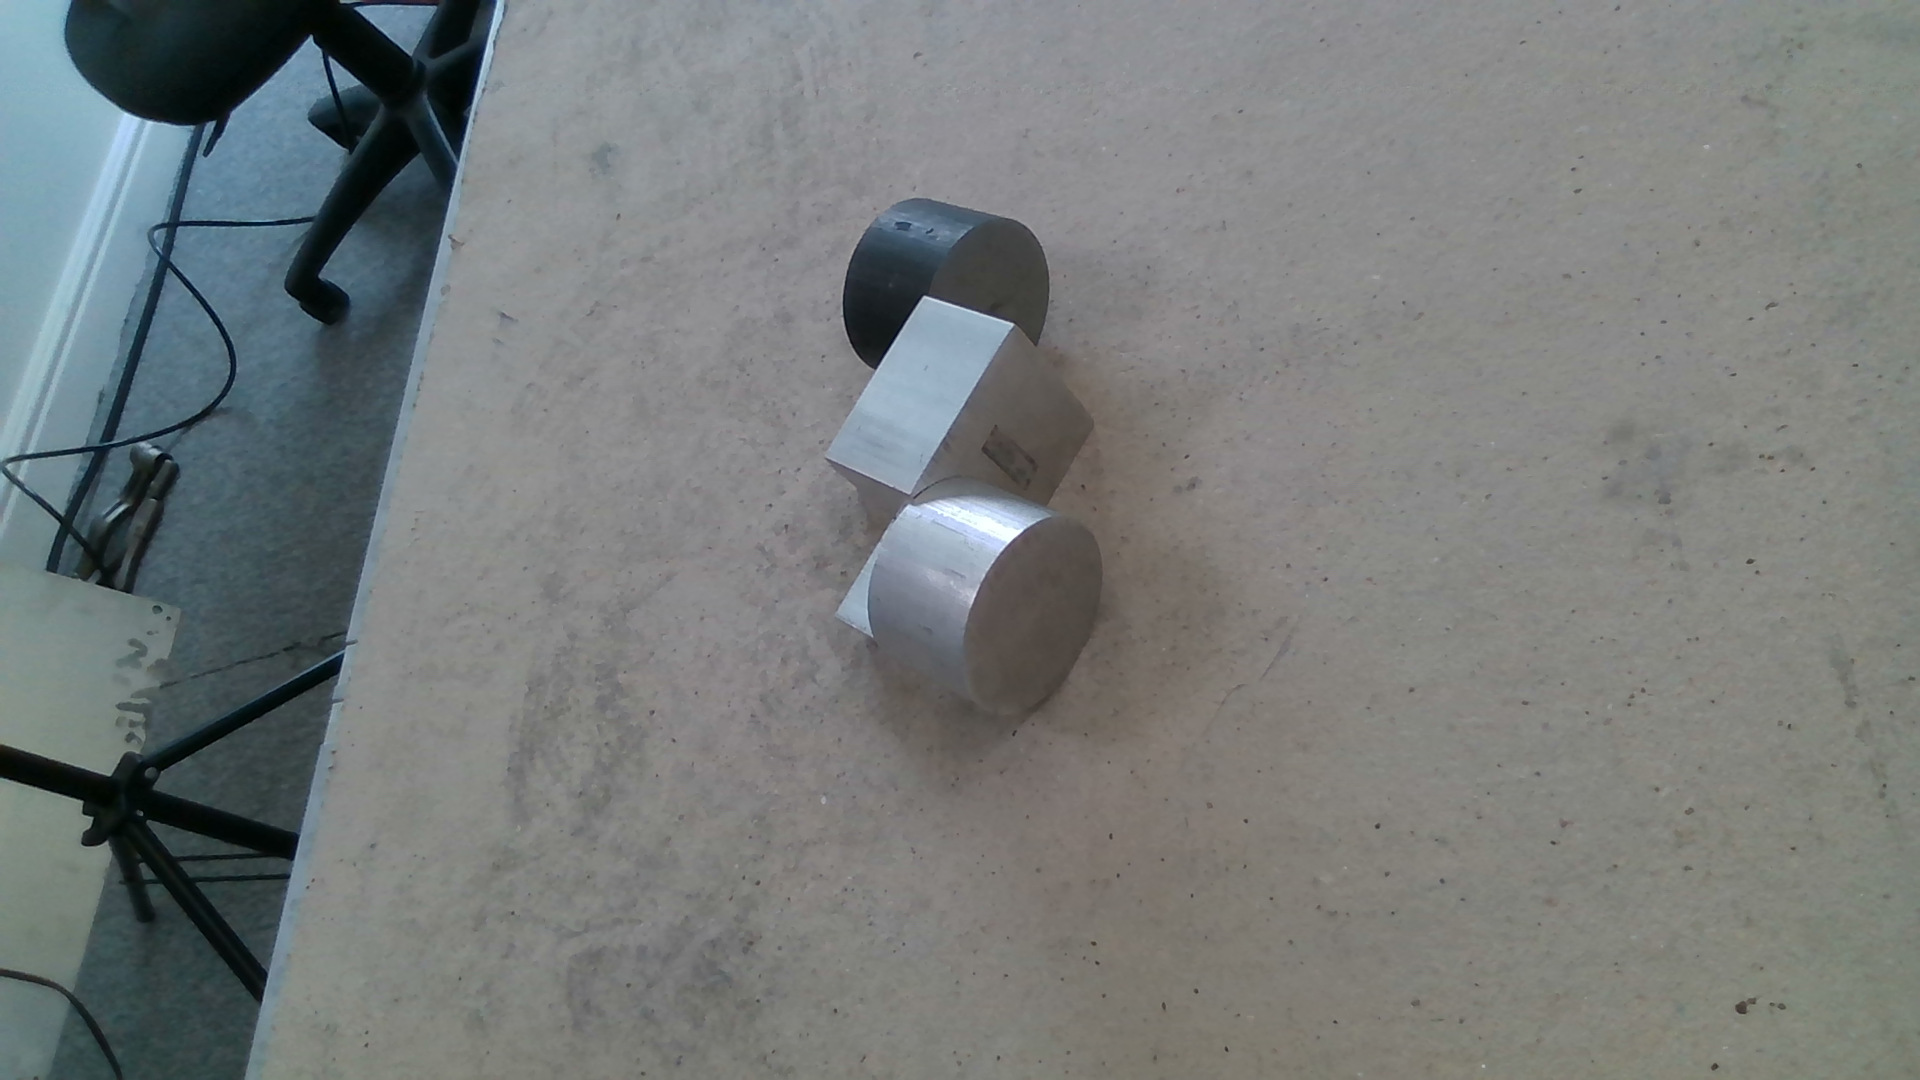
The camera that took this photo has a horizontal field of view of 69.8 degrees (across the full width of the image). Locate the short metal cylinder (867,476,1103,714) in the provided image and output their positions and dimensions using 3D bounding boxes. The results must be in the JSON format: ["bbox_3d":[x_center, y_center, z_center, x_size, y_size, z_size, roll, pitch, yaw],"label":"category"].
[{"bbox_3d":[0.010,0.020,0.534,0.050,0.080,0.080,25,80,38],"label":"short metal cylinder"}]

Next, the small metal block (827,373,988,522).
[{"bbox_3d":[-0.024,-0.042,0.624,0.050,0.025,0.050,24,80,38],"label":"small metal block"}]

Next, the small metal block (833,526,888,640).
[{"bbox_3d":[-0.018,0.025,0.585,0.050,0.025,0.050,24,80,38],"label":"small metal block"}]

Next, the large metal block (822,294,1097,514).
[{"bbox_3d":[0.002,-0.042,0.573,0.050,0.080,0.080,24,80,38],"label":"large metal block"}]

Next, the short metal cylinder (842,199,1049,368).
[{"bbox_3d":[-0.006,-0.107,0.611,0.050,0.080,0.080,24,80,38],"label":"short metal cylinder"}]
